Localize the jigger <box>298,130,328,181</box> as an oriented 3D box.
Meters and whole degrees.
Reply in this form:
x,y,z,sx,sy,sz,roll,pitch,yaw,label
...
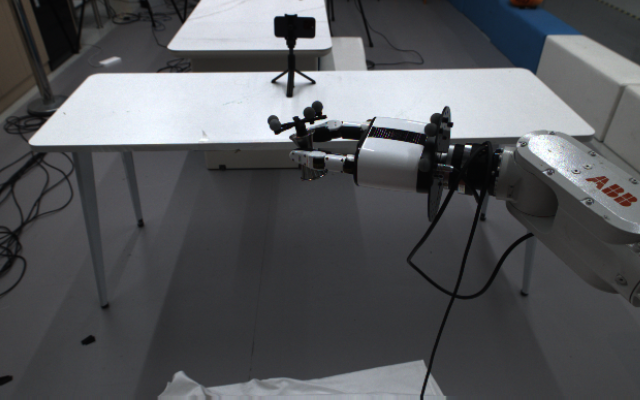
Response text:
x,y,z,sx,sy,sz,roll,pitch,yaw,label
-0.017,-0.068,0.728,0.043,0.071,0.043,-14,21,6,jigger
